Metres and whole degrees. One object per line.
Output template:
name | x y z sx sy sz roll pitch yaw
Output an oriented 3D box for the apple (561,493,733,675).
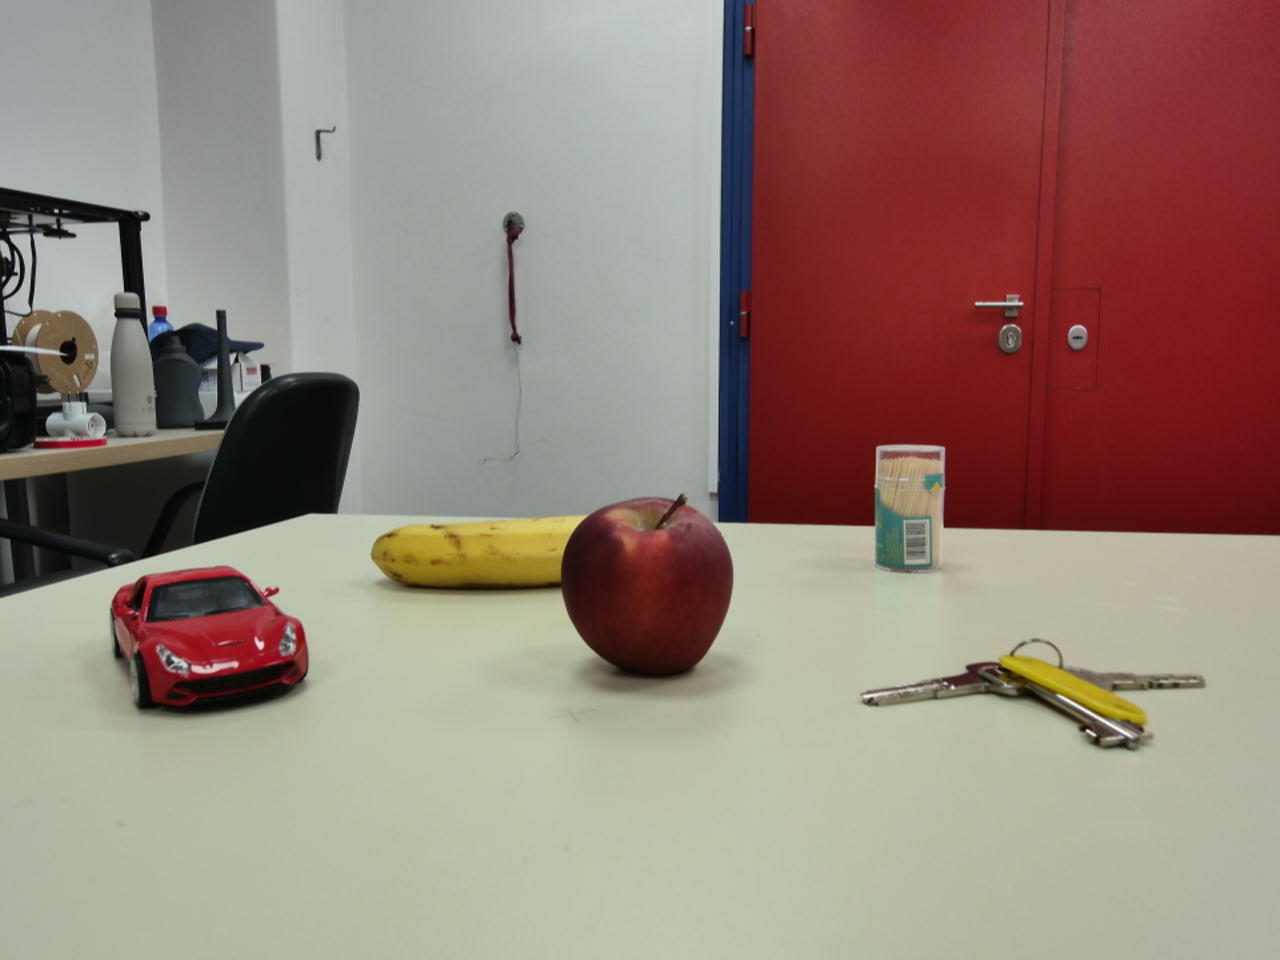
apple | 0.003 0.041 0.406 0.070 0.072 0.070 -1 4 0
